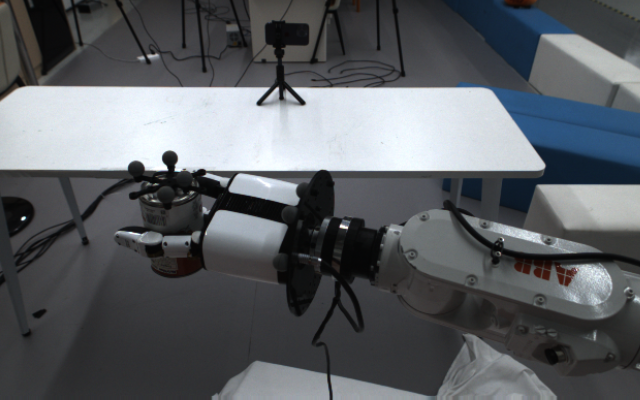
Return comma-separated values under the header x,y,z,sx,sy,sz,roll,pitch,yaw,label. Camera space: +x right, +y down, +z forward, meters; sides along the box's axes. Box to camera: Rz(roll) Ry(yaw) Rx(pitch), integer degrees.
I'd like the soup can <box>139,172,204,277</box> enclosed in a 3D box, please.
x,y,z,sx,sy,sz,roll,pitch,yaw,label
-0.165,0.031,0.557,0.067,0.101,0.067,2,32,-1,soup can
